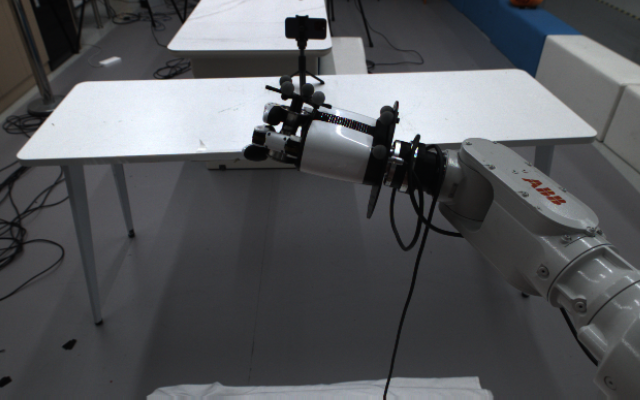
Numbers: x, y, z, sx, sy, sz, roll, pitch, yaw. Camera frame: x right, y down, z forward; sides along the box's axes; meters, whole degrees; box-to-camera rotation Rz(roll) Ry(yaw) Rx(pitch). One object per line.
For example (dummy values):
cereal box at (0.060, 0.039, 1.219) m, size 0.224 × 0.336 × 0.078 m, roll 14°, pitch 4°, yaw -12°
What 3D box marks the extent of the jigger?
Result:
jigger at (-0.042, -0.086, 0.643) m, size 0.043 × 0.071 × 0.043 m, roll 18°, pitch 17°, yaw -6°
